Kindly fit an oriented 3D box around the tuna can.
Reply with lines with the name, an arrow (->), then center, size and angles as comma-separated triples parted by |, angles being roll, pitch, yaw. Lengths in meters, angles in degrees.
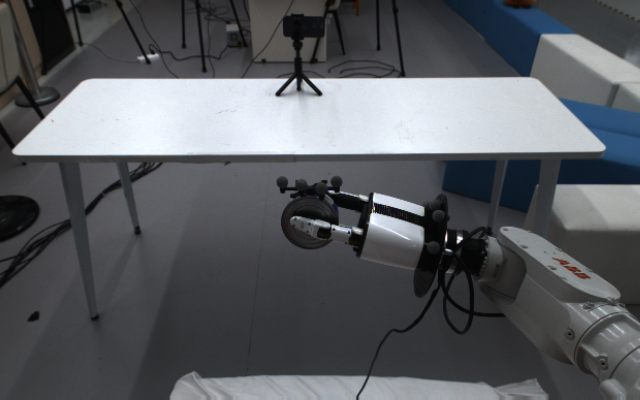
tuna can -> -0.012, 0.033, 0.722 | 0.085, 0.085, 0.034 | 4, 18, 3
